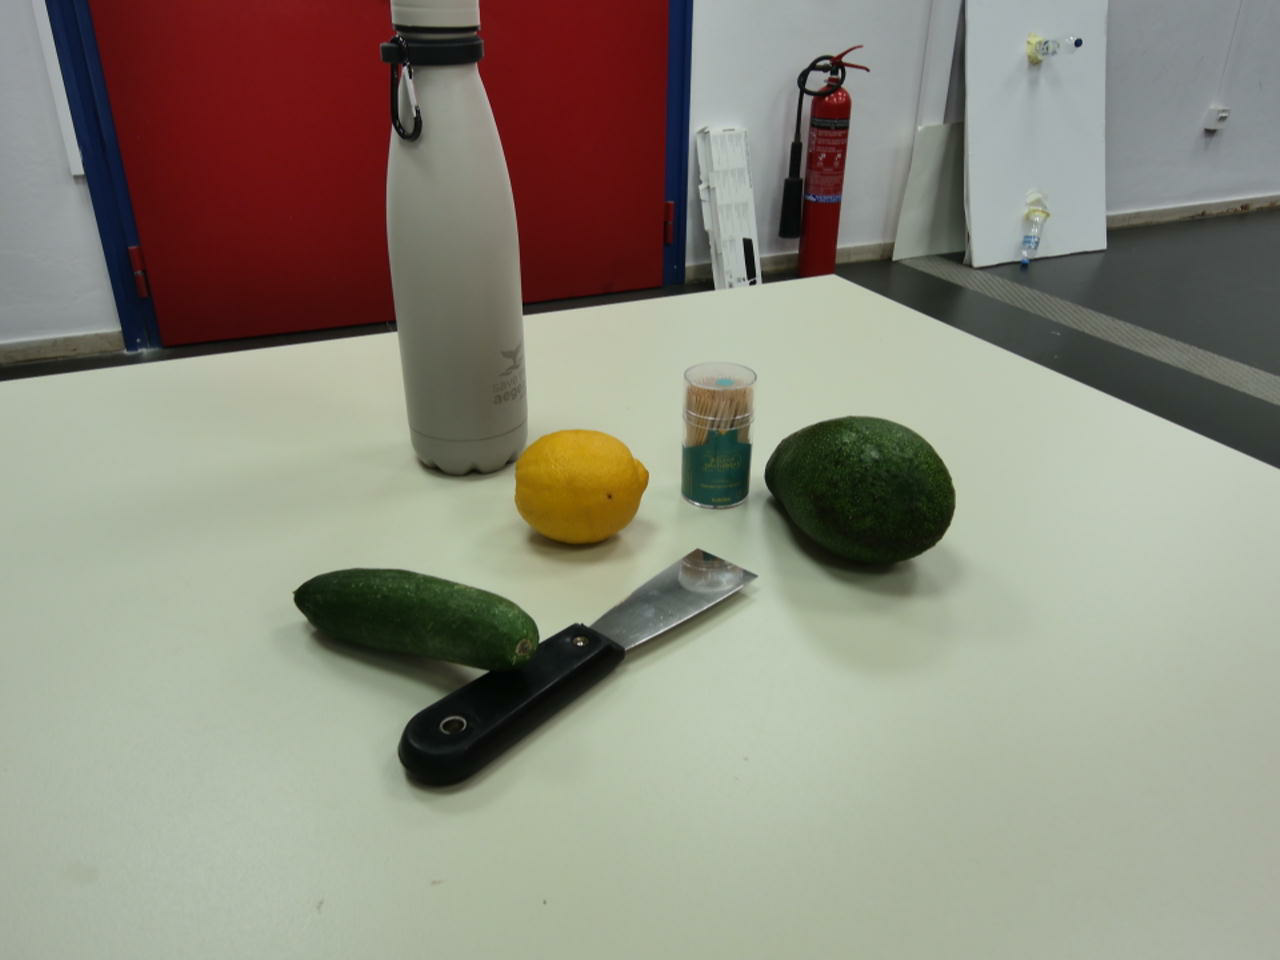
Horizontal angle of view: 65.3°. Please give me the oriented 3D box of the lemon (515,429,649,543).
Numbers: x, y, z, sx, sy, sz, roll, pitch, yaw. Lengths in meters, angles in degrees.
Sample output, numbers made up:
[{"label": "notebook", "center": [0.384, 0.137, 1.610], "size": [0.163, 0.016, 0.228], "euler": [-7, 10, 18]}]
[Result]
[{"label": "lemon", "center": [-0.032, 0.004, 0.522], "size": [0.067, 0.059, 0.060], "euler": [9, 27, 15]}]
